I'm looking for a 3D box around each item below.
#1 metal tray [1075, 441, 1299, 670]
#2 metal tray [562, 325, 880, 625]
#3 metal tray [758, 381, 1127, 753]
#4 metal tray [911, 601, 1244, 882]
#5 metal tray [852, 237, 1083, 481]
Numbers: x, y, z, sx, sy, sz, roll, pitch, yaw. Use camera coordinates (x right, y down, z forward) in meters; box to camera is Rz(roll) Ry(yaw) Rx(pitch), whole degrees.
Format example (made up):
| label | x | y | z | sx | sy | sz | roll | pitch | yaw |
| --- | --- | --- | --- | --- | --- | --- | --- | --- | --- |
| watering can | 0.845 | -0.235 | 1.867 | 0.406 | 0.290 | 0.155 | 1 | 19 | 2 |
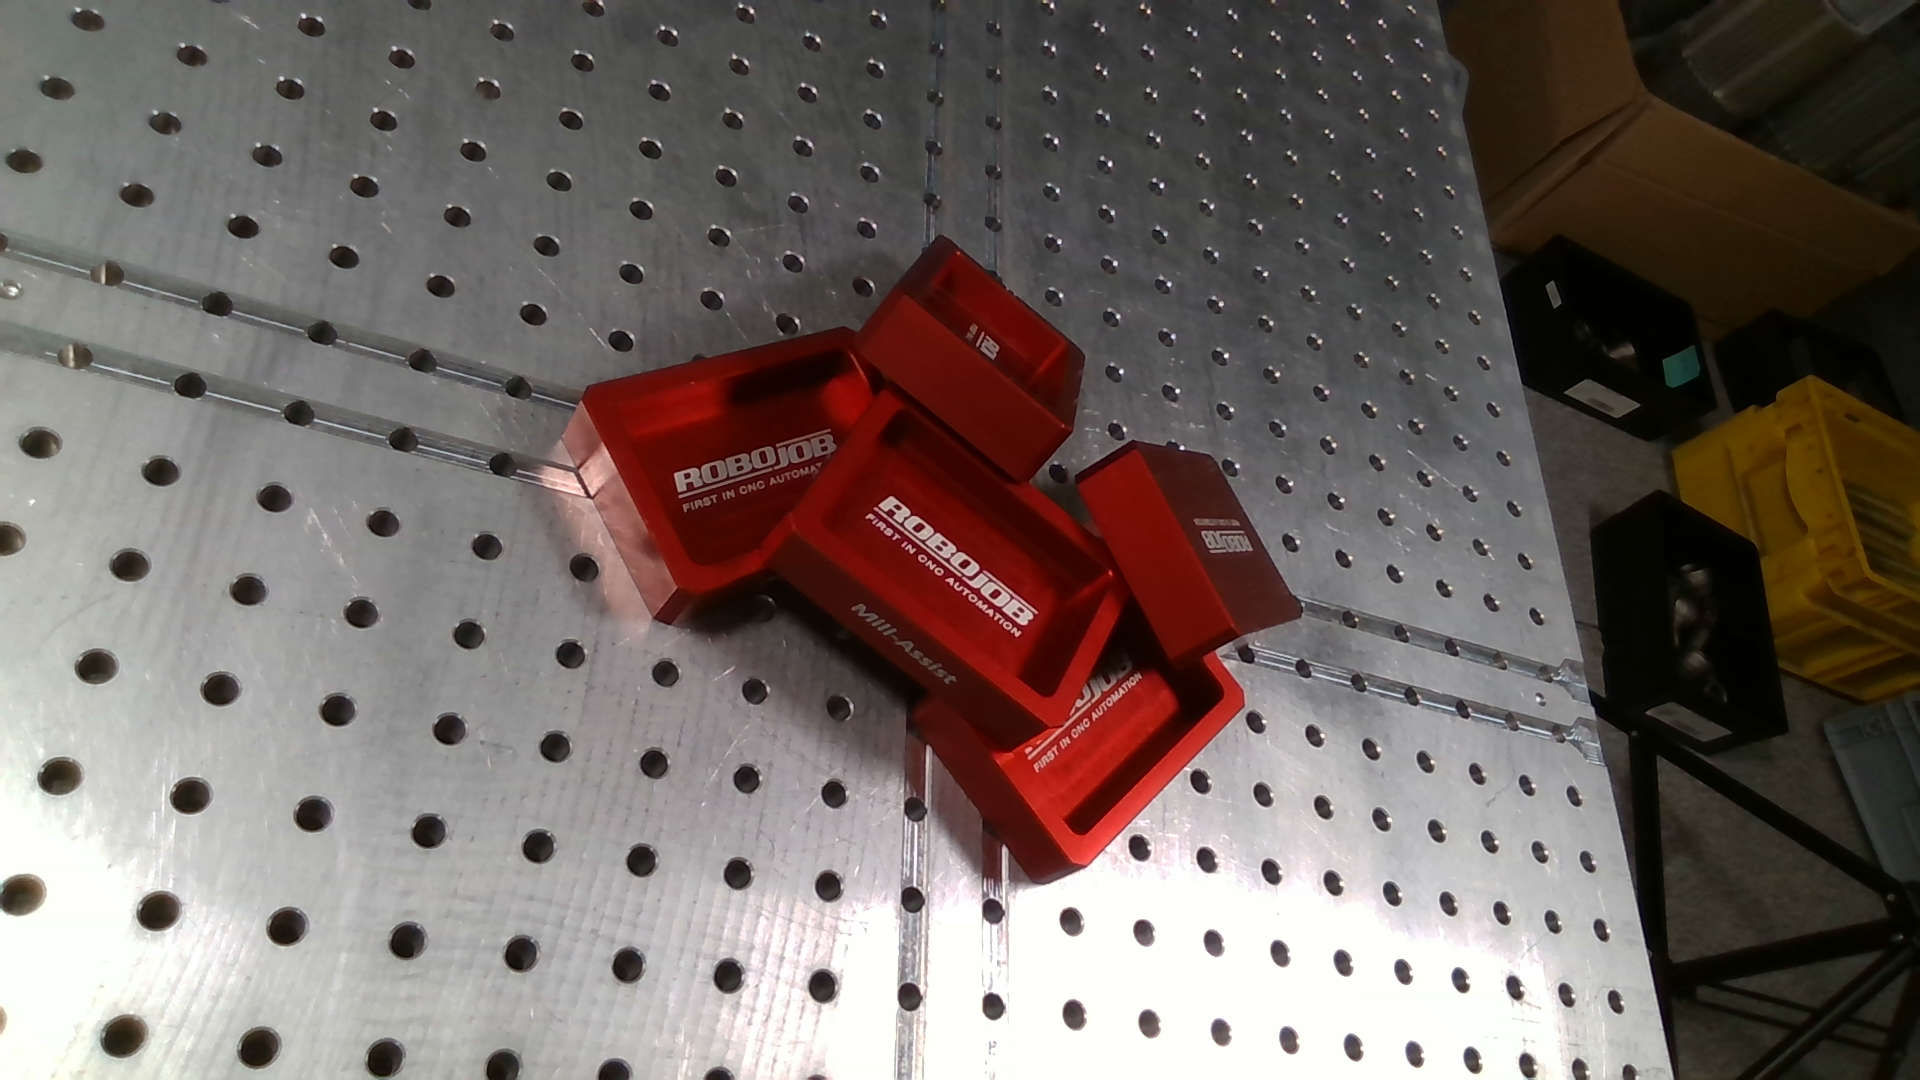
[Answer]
| label | x | y | z | sx | sy | sz | roll | pitch | yaw |
| --- | --- | --- | --- | --- | --- | --- | --- | --- | --- |
| metal tray | 0.104 | 0.005 | 0.608 | 0.090 | 0.030 | 0.130 | 63 | 22 | 11 |
| metal tray | -0.080 | -0.030 | 0.552 | 0.130 | 0.030 | 0.090 | -21 | 78 | -38 |
| metal tray | -0.002 | 0.010 | 0.540 | 0.130 | 0.030 | 0.090 | 39 | 51 | -8 |
| metal tray | 0.053 | 0.070 | 0.580 | 0.130 | 0.030 | 0.090 | -35 | 86 | -39 |
| metal tray | 0.009 | -0.083 | 0.596 | 0.090 | 0.030 | 0.130 | 39 | 21 | -8 |
